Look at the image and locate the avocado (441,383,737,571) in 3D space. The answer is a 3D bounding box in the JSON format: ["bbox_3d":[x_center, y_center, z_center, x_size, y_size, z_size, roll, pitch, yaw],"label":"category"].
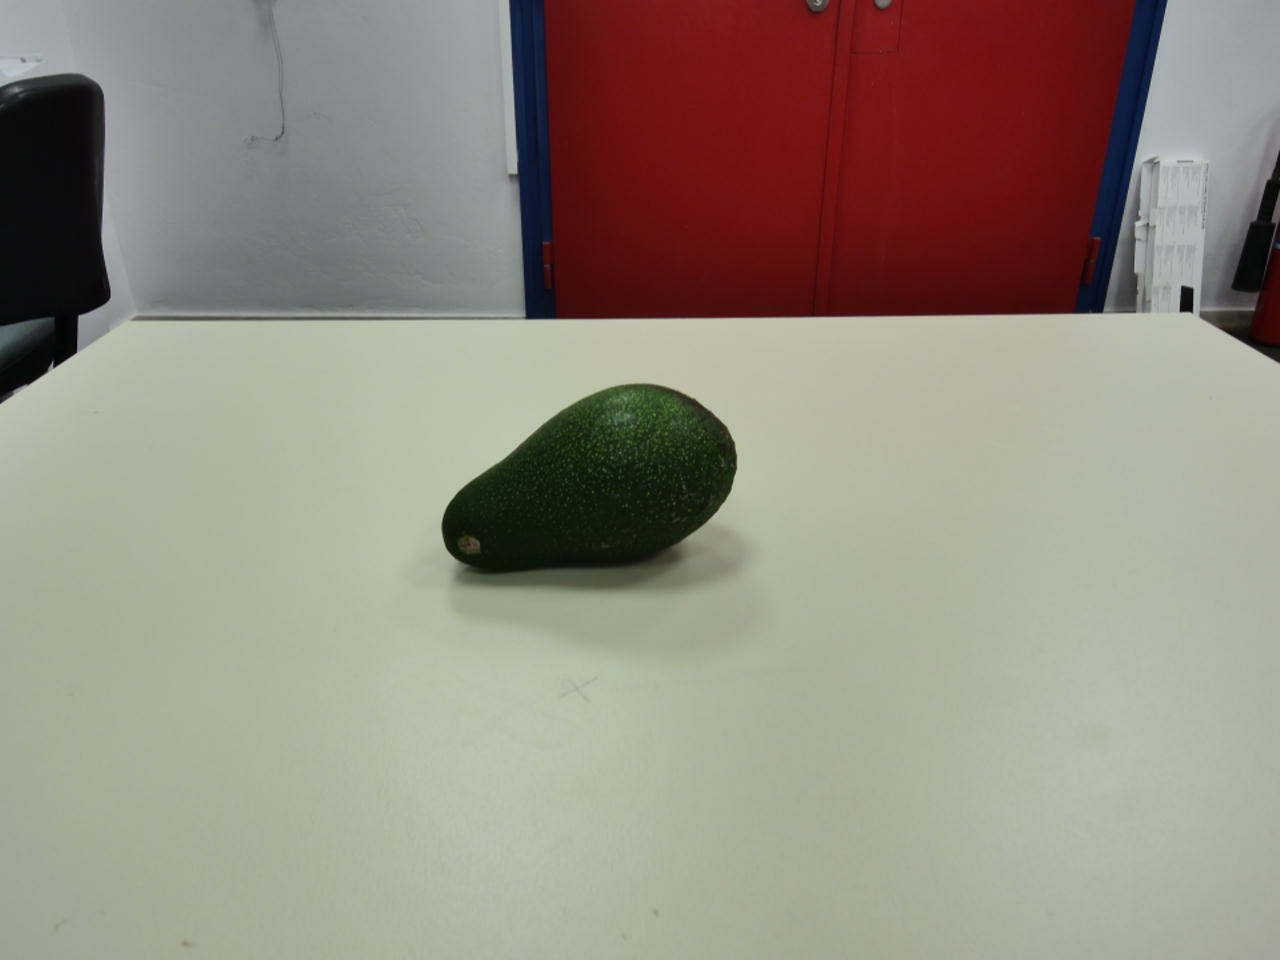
[{"bbox_3d":[-0.021,-0.003,0.429,0.123,0.076,0.074,2,24,5],"label":"avocado"}]
